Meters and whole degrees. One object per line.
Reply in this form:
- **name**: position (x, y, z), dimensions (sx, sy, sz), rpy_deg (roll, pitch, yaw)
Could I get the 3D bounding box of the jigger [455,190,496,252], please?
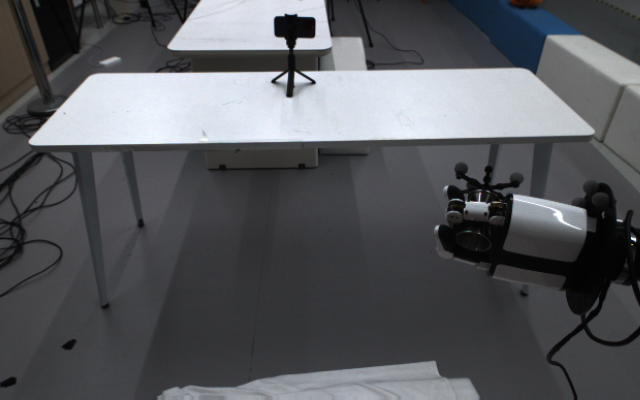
- **jigger**: position (0.204, 0.024, 0.615), dimensions (0.043, 0.043, 0.071), rpy_deg (13, 58, 15)
